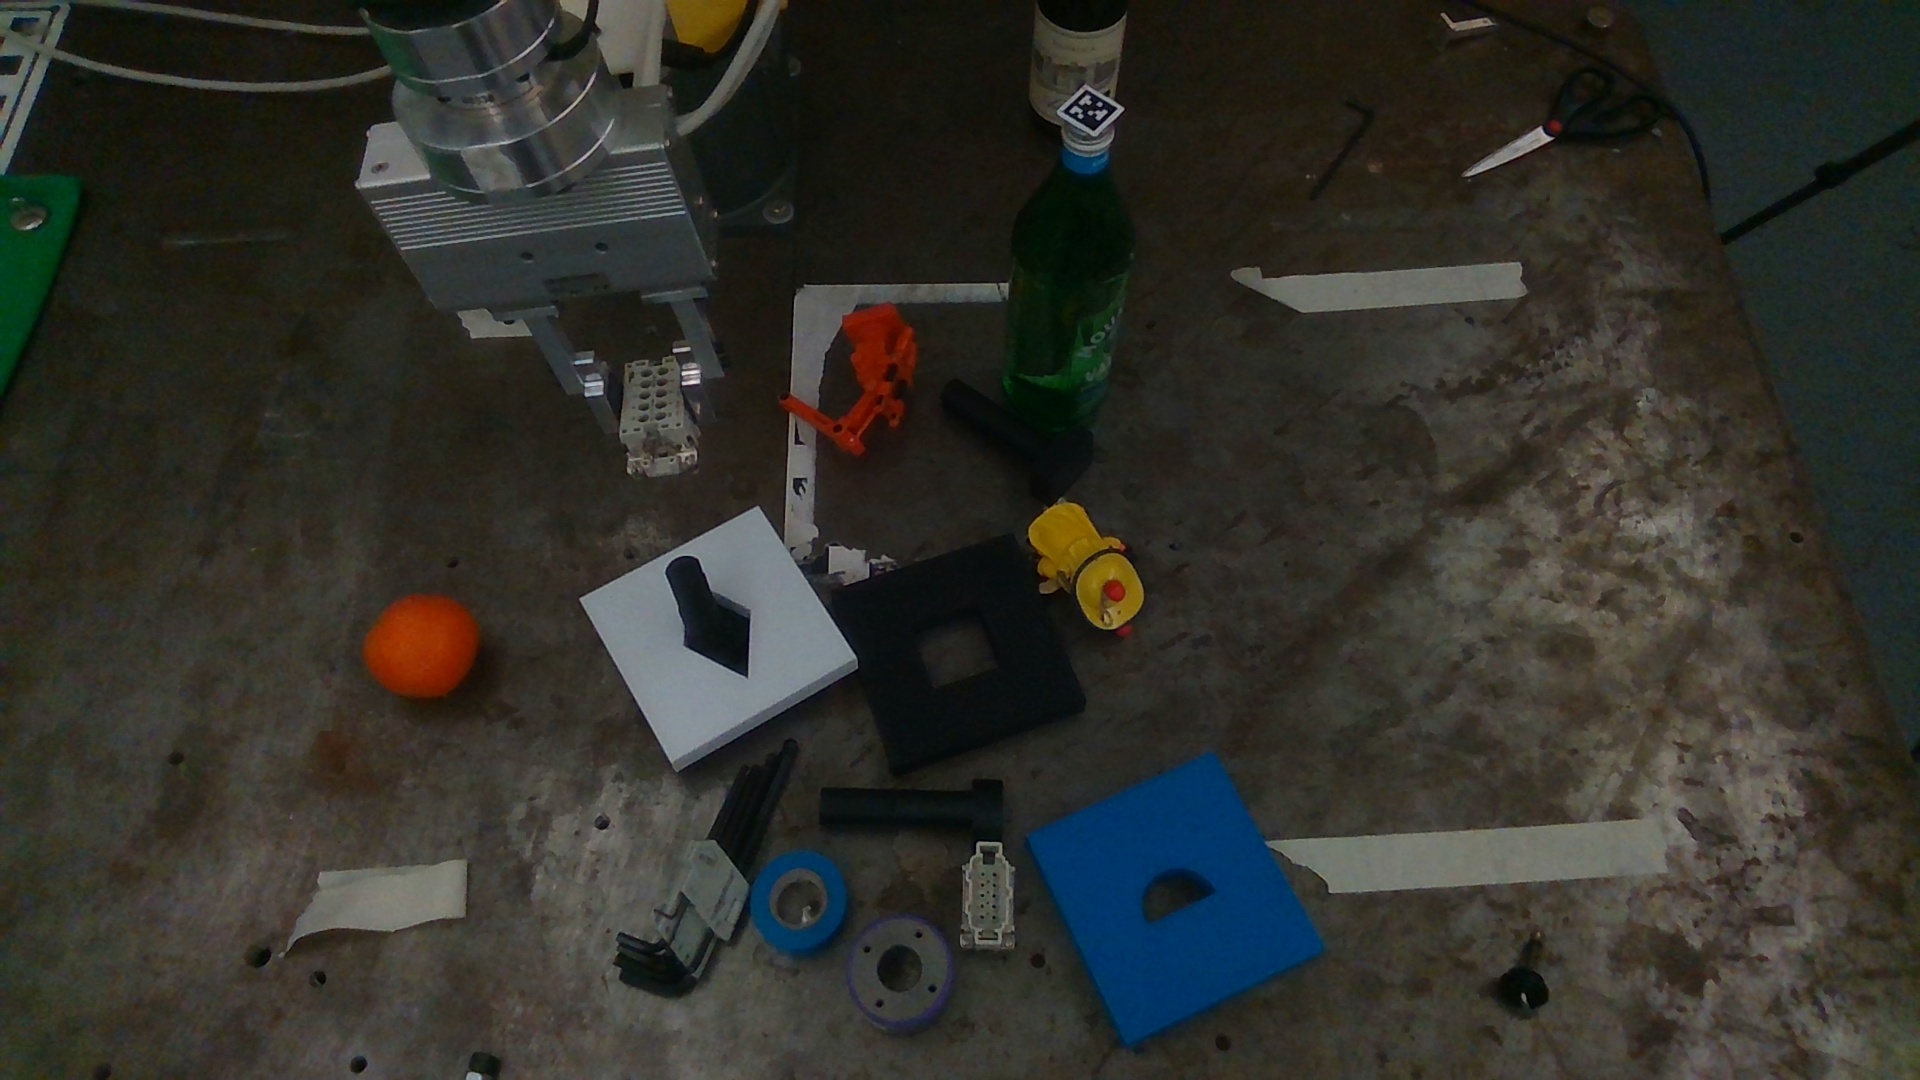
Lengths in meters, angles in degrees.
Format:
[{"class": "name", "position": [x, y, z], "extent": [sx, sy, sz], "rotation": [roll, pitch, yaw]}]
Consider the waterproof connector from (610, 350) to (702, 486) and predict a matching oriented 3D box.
[{"class": "waterproof connector", "position": [-0.144, -0.060, 0.669], "extent": [0.037, 0.038, 0.069], "rotation": [-6, 58, 8]}]
